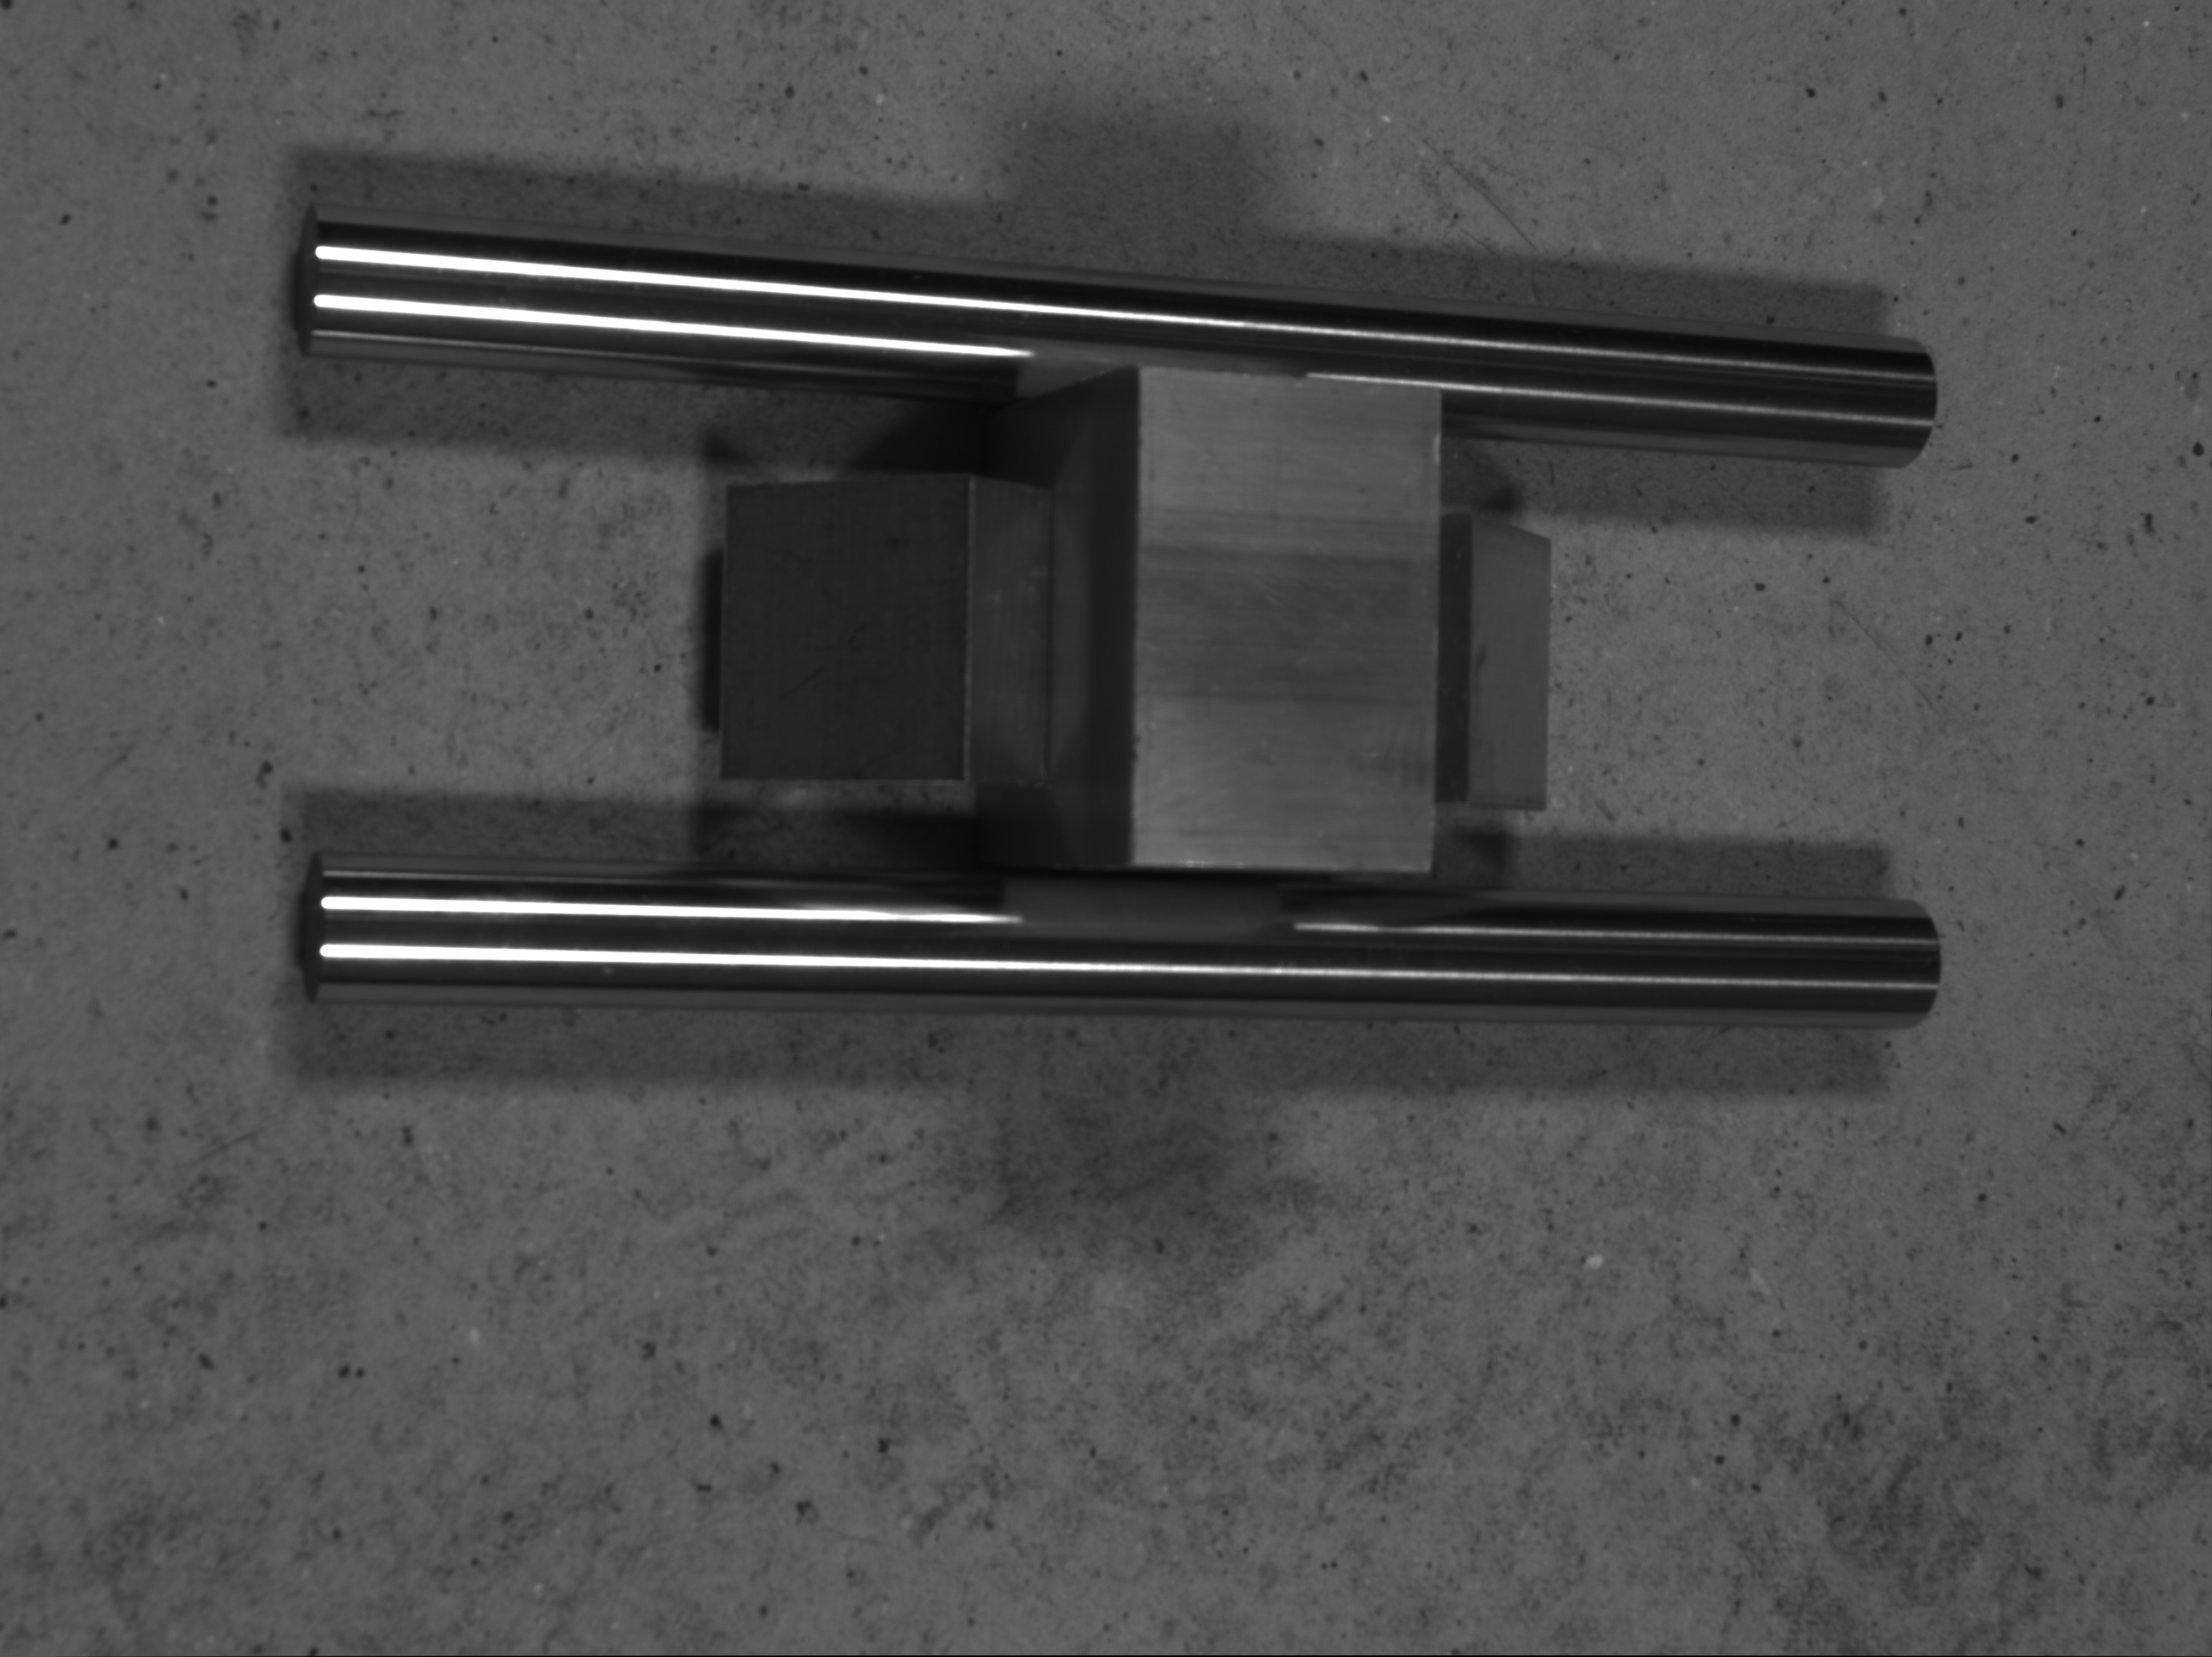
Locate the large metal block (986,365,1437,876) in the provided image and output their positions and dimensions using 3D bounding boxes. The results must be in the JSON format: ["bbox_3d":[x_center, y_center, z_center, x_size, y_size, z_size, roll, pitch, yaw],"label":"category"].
[{"bbox_3d":[0.016,-0.033,0.622,0.050,0.080,0.080,1,90,-20],"label":"large metal block"}]

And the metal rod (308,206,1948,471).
[{"bbox_3d":[0.013,-0.085,0.648,0.301,0.025,0.025,2,89,-20],"label":"metal rod"}]

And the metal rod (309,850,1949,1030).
[{"bbox_3d":[0.013,0.021,0.648,0.301,0.025,0.025,2,89,-20],"label":"metal rod"}]

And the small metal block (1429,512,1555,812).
[{"bbox_3d":[0.061,-0.029,0.651,0.025,0.050,0.050,0,89,22],"label":"small metal block"}]

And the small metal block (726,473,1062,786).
[{"bbox_3d":[-0.036,-0.033,0.616,0.025,0.050,0.050,1,90,-59],"label":"small metal block"}]
